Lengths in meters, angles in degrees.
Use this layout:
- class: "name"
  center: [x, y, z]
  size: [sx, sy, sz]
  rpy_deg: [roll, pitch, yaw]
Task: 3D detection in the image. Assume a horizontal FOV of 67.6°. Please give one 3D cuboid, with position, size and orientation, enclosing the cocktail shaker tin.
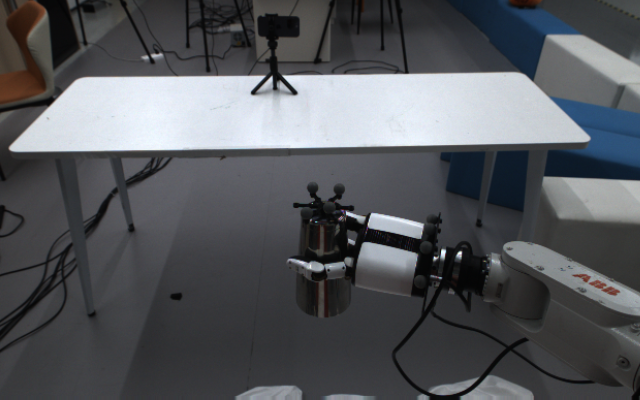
- class: "cocktail shaker tin"
  center: [0.007, 0.087, 0.751]
  size: [0.093, 0.170, 0.093]
  rpy_deg: [0, 33, 0]
